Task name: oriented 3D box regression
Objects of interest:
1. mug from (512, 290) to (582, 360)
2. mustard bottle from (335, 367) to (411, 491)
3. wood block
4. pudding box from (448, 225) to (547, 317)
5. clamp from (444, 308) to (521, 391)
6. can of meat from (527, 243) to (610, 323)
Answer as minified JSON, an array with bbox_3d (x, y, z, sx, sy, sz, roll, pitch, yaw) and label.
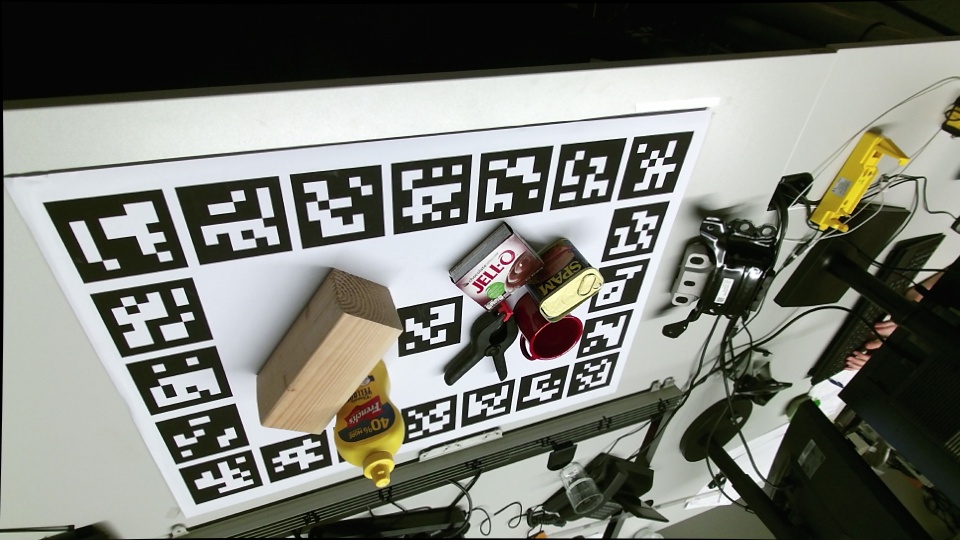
[{"bbox_3d":[0.100,0.091,0.876,0.094,0.081,0.117,9,118,-31],"label":"mug"},{"bbox_3d":[-0.149,0.222,0.746,0.096,0.191,0.058,-16,129,-17],"label":"mustard bottle"},{"bbox_3d":[-0.203,0.115,0.712,0.090,0.090,0.206,25,112,-40],"label":"wood block"},{"bbox_3d":[0.025,0.003,0.771,0.114,0.038,0.090,-41,131,9],"label":"pudding box"},{"bbox_3d":[0.019,0.136,0.876,0.122,0.036,0.165,7,119,-29],"label":"clamp"},{"bbox_3d":[0.126,0.018,0.795,0.102,0.083,0.058,-35,131,1],"label":"can of meat"}]
